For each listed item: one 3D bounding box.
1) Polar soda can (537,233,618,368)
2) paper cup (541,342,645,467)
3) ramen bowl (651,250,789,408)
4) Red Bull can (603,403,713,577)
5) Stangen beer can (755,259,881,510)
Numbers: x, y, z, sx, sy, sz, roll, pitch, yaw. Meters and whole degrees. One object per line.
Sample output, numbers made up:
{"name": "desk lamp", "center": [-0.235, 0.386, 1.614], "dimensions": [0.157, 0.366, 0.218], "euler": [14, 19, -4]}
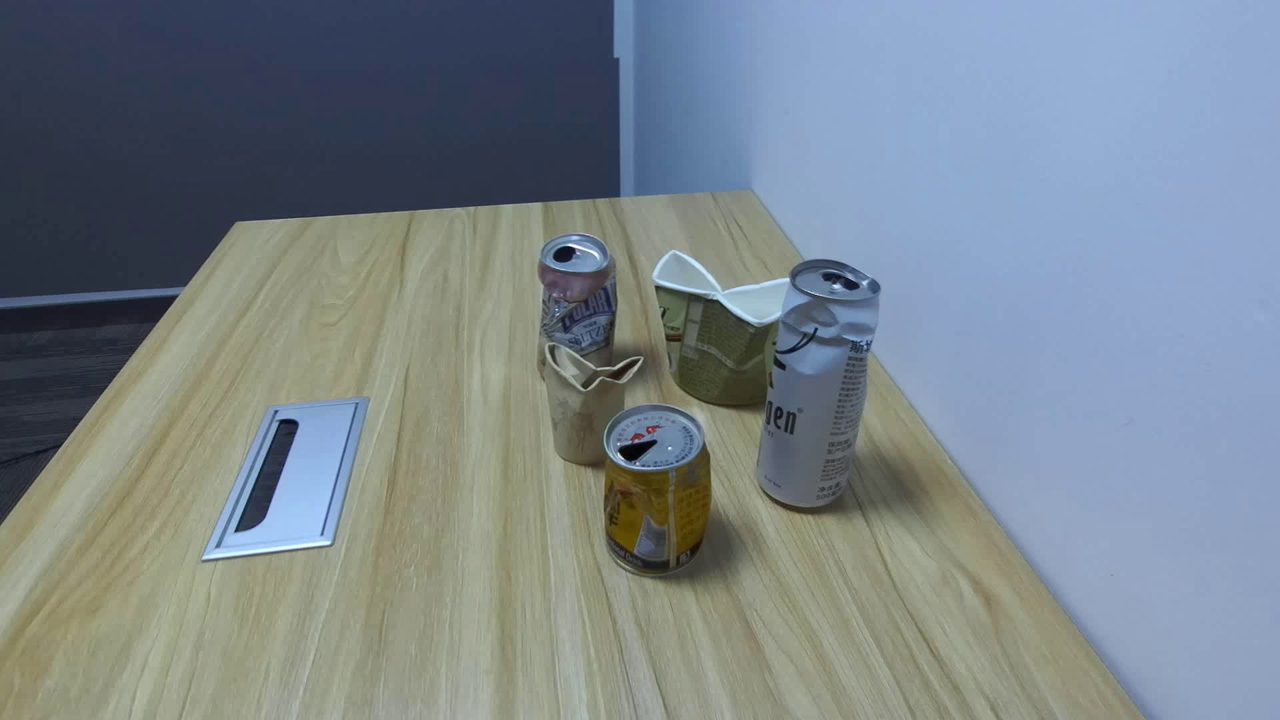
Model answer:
{"name": "Polar soda can", "center": [-0.055, -0.036, 0.594], "dimensions": [0.066, 0.122, 0.071], "euler": [7, 34, 4]}
{"name": "paper cup", "center": [-0.035, 0.030, 0.520], "dimensions": [0.058, 0.083, 0.066], "euler": [-22, 41, -33]}
{"name": "ramen bowl", "center": [0.076, -0.032, 0.597], "dimensions": [0.127, 0.093, 0.112], "euler": [25, 43, 33]}
{"name": "Red Bull can", "center": [0.008, 0.080, 0.441], "dimensions": [0.072, 0.092, 0.072], "euler": [0, 37, 0]}
{"name": "Stangen beer can", "center": [0.116, 0.020, 0.463], "dimensions": [0.066, 0.166, 0.066], "euler": [18, 38, 24]}
